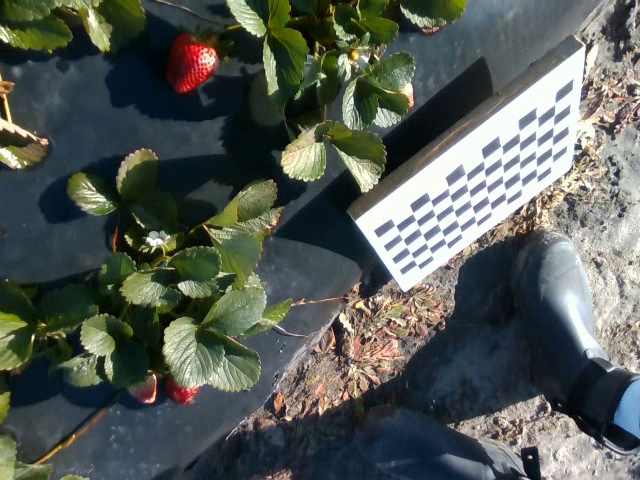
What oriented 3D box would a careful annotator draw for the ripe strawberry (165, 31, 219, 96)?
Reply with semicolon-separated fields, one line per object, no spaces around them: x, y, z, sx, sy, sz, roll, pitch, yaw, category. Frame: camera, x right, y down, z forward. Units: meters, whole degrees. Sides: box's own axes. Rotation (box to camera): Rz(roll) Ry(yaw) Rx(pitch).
-0.102;-0.139;0.497;0.044;0.056;0.041;30;-2;24;ripe strawberry
